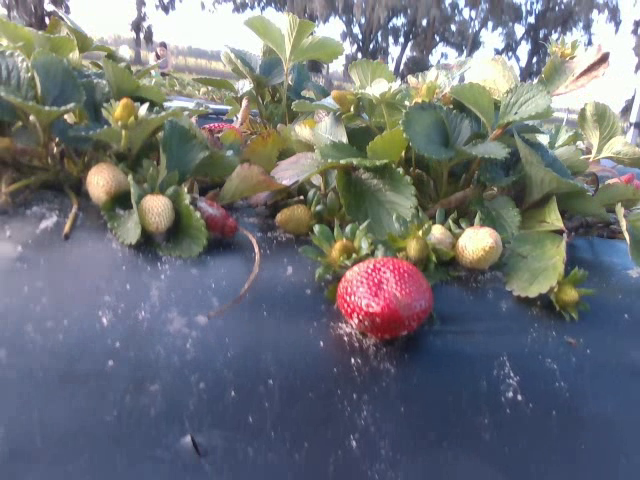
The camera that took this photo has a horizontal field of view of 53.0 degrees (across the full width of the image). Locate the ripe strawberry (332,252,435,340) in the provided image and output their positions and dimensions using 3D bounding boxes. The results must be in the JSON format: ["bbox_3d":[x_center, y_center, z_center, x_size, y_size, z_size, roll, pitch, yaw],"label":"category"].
[{"bbox_3d":[0.034,0.029,0.332,0.052,0.045,0.068,8,6,-2],"label":"ripe strawberry"}]
